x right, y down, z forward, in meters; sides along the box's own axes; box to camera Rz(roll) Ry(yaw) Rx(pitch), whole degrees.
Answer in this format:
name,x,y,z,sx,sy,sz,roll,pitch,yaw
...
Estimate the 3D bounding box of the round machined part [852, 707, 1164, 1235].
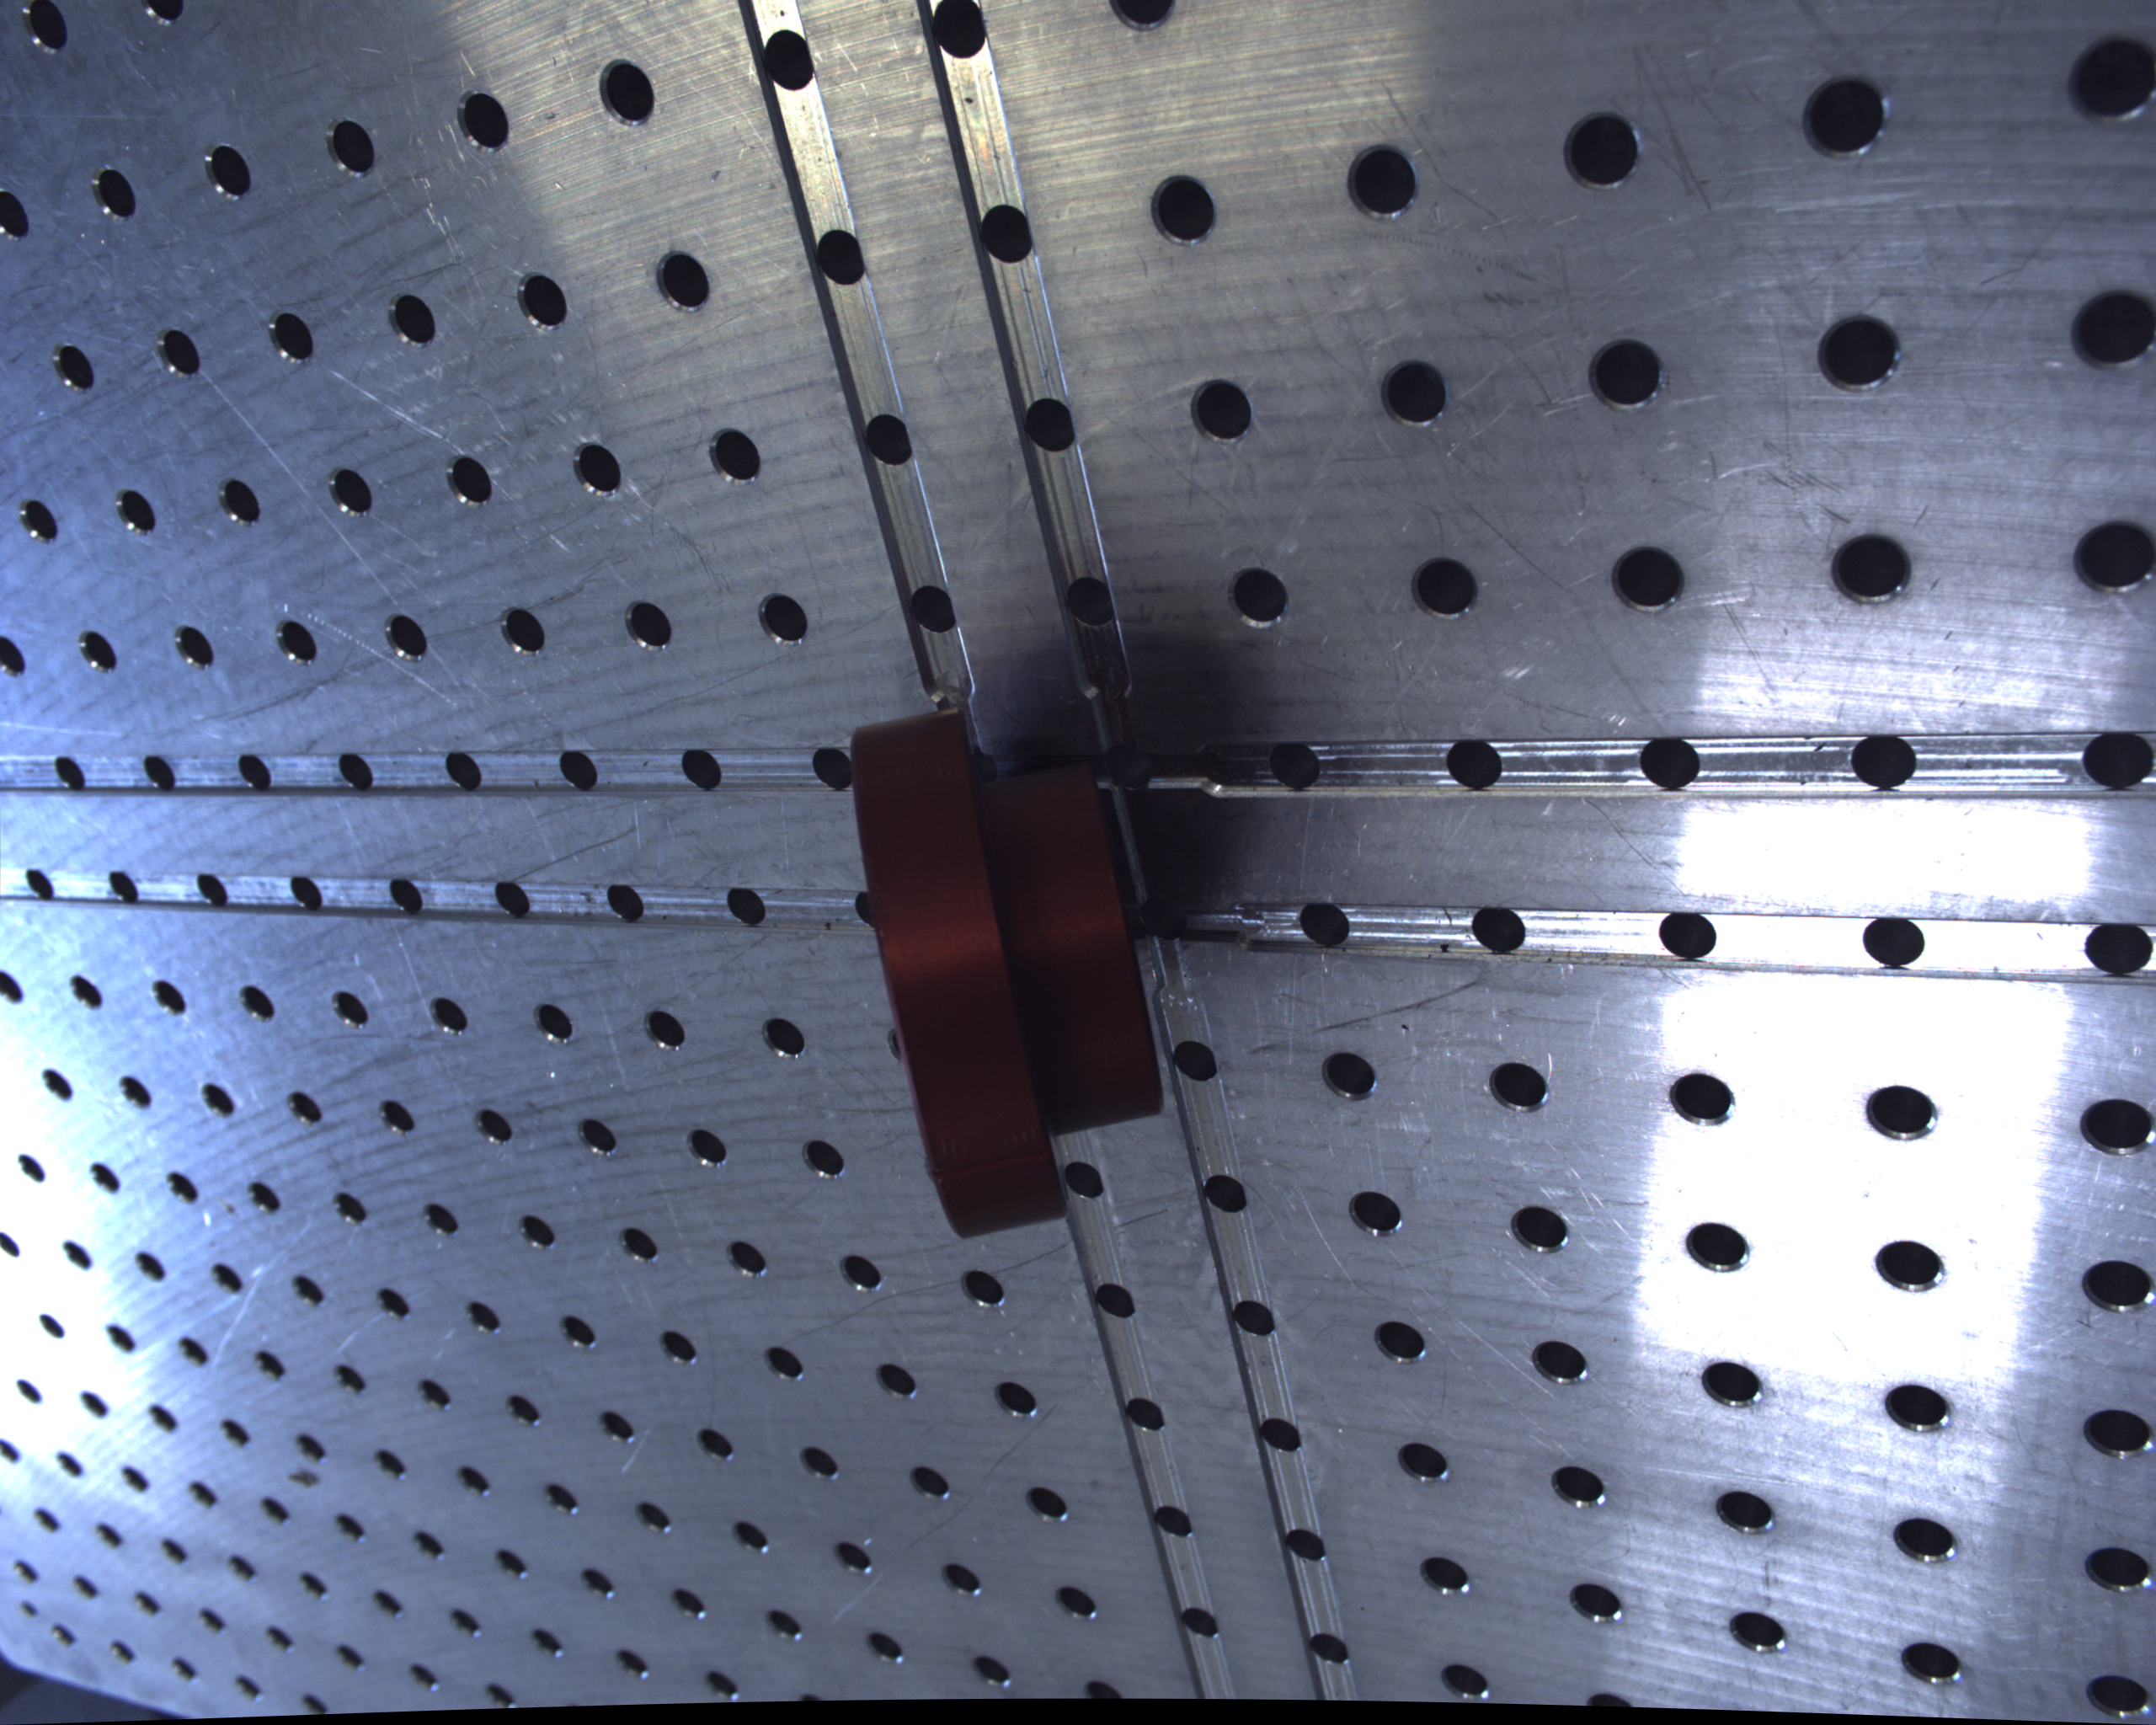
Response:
name,x,y,z,sx,sy,sz,roll,pitch,yaw
round machined part,-0.011,0.018,0.394,0.042,0.098,0.097,-12,117,-1
